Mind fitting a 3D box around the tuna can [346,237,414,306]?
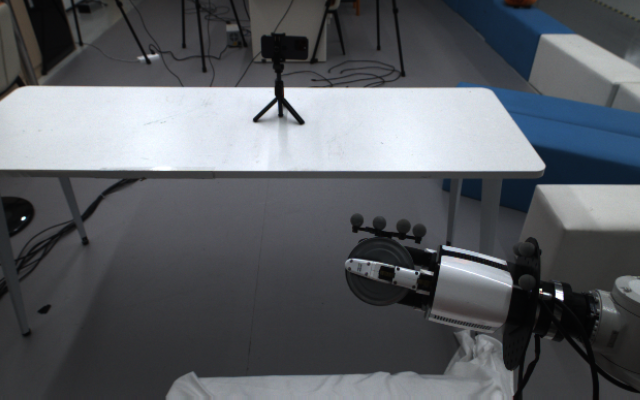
[{"bbox_3d":[0.078,0.087,0.610,0.085,0.085,0.034,11,-7,12],"label":"tuna can"}]
